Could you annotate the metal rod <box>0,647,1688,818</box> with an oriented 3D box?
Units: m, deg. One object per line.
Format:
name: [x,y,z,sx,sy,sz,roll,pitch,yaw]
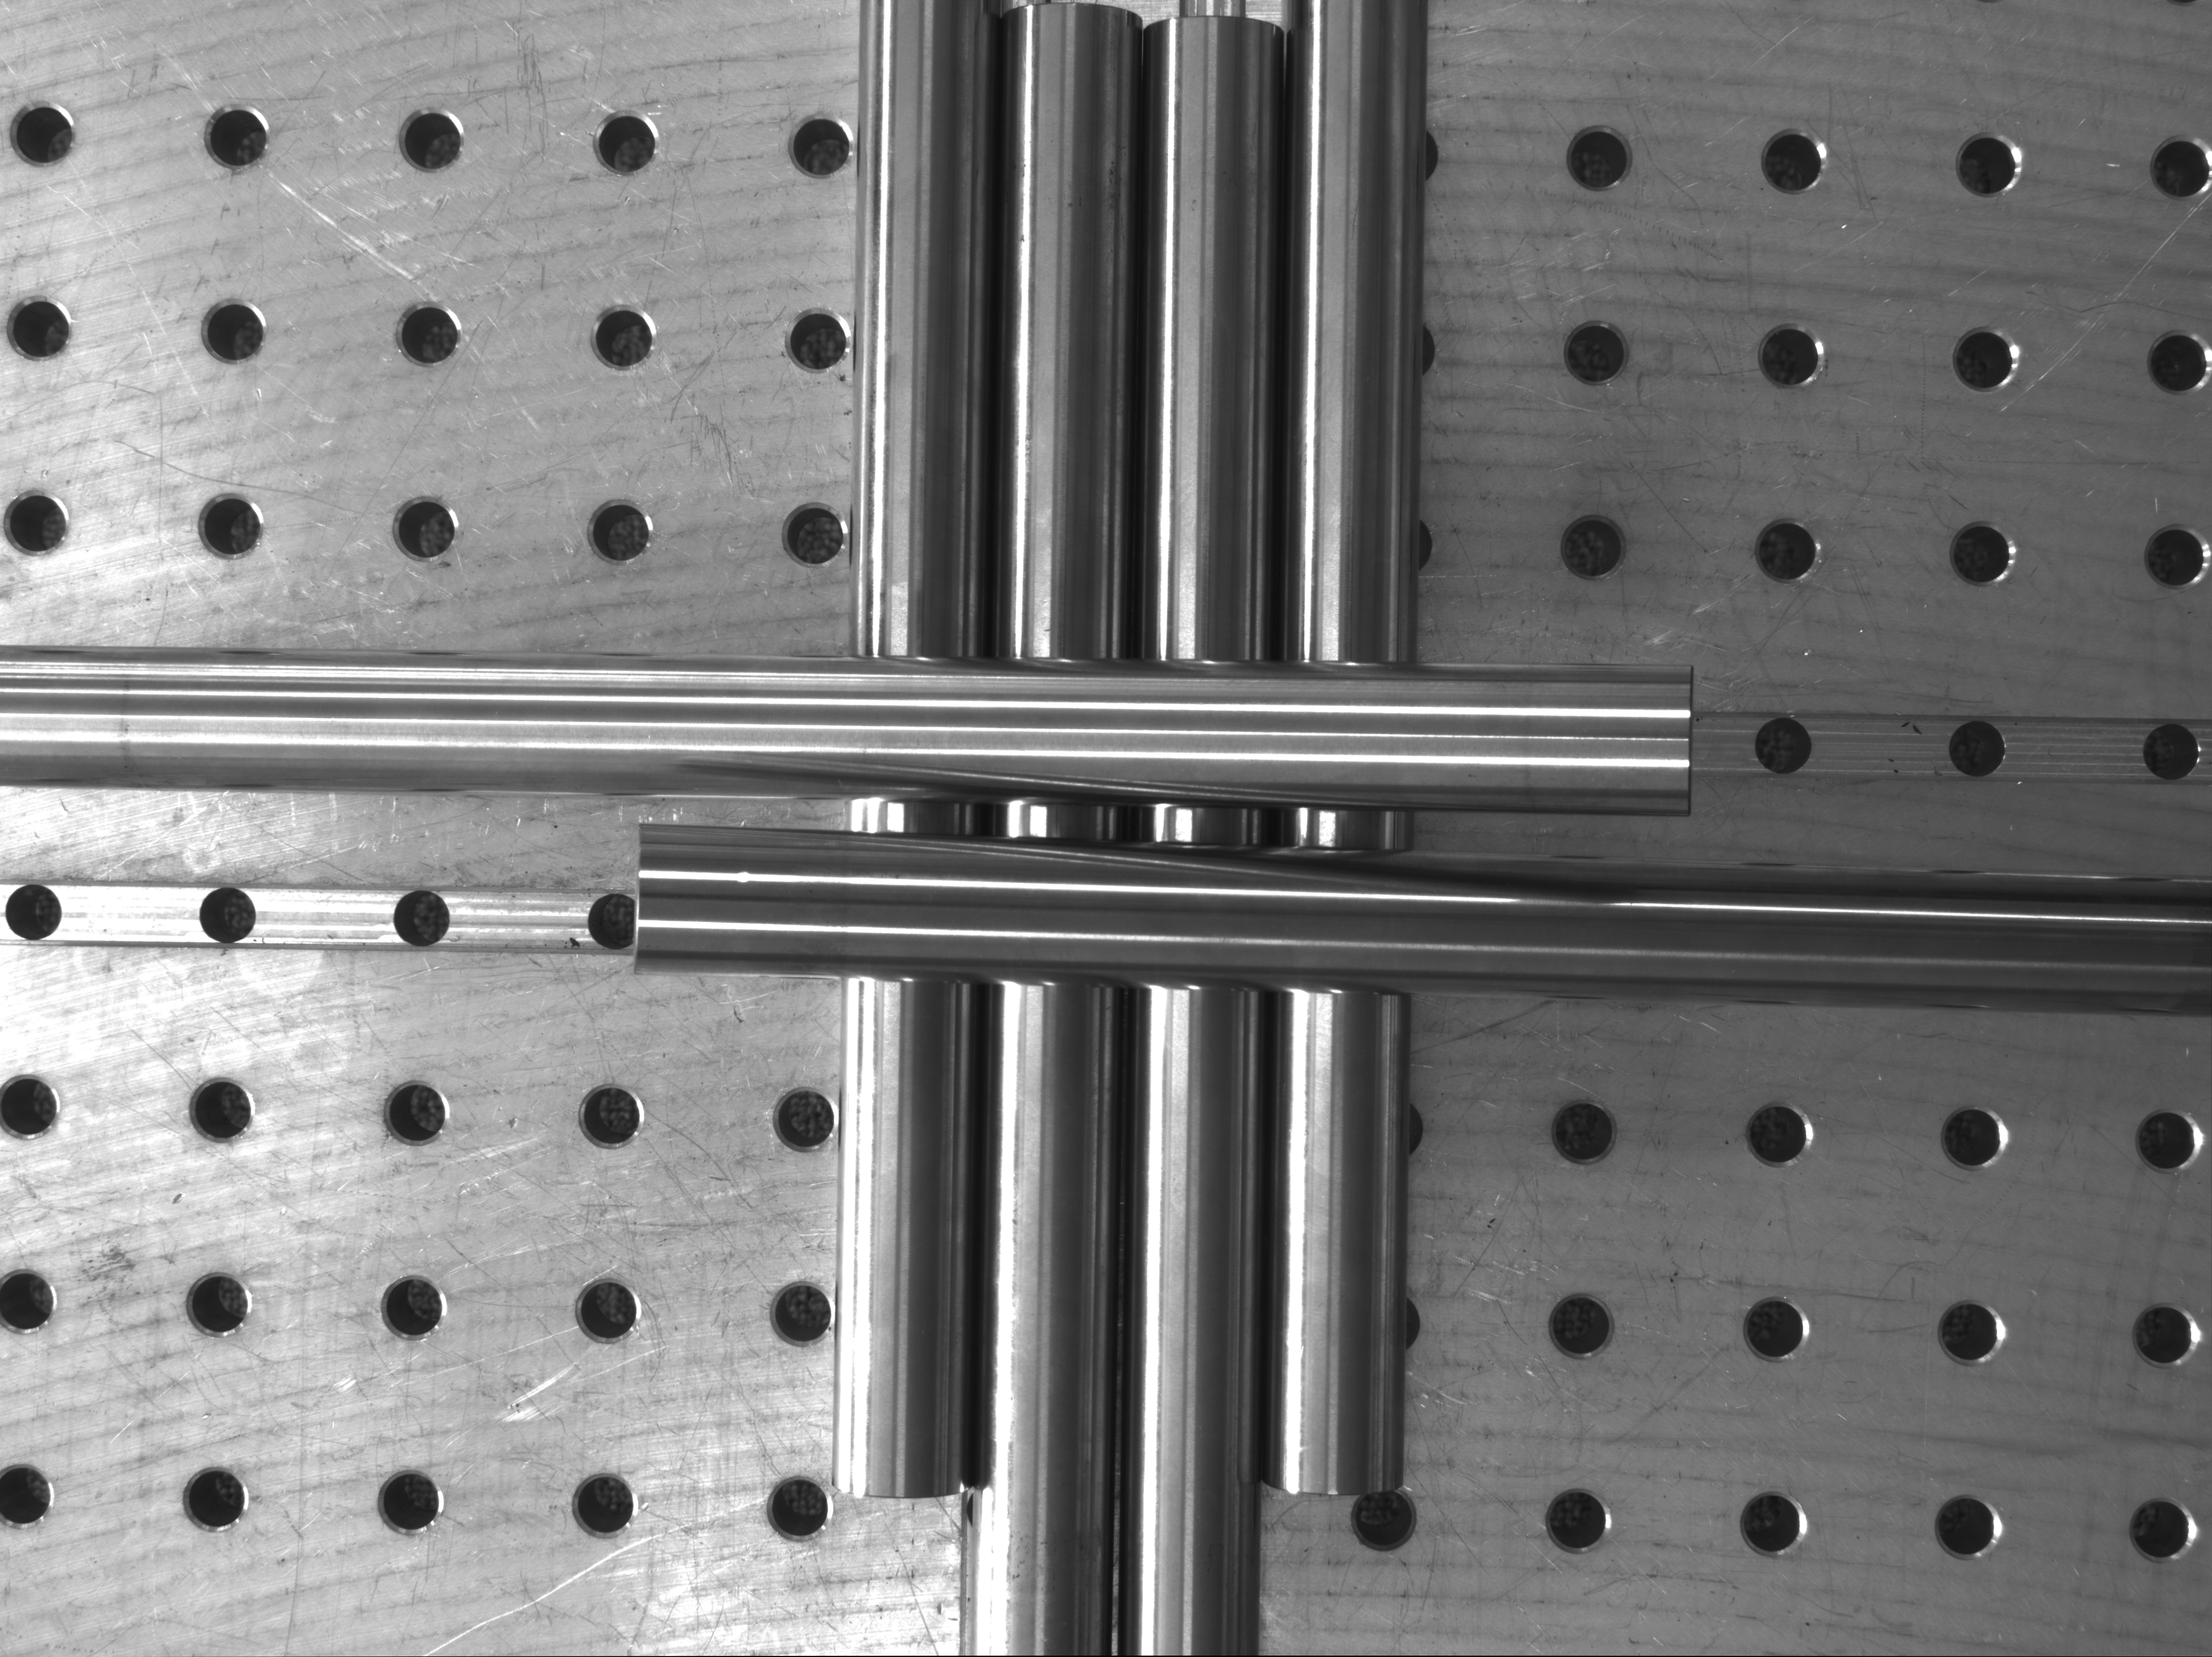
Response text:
metal rod: [-0.053,-0.017,0.625,0.300,0.025,0.025,1,90,9]

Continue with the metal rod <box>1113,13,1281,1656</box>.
metal rod: [0.016,0.009,0.649,0.025,0.025,0.300,1,90,0]

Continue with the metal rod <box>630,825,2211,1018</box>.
metal rod: [0.070,0.017,0.628,0.300,0.025,0.025,2,90,-9]

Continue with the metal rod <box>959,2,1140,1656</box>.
metal rod: [-0.010,0.007,0.647,0.025,0.025,0.300,1,90,0]

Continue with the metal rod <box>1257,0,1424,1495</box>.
metal rod: [0.042,-0.035,0.648,0.025,0.025,0.300,1,90,0]

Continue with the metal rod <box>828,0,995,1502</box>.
metal rod: [-0.034,-0.034,0.648,0.025,0.025,0.300,1,90,0]
